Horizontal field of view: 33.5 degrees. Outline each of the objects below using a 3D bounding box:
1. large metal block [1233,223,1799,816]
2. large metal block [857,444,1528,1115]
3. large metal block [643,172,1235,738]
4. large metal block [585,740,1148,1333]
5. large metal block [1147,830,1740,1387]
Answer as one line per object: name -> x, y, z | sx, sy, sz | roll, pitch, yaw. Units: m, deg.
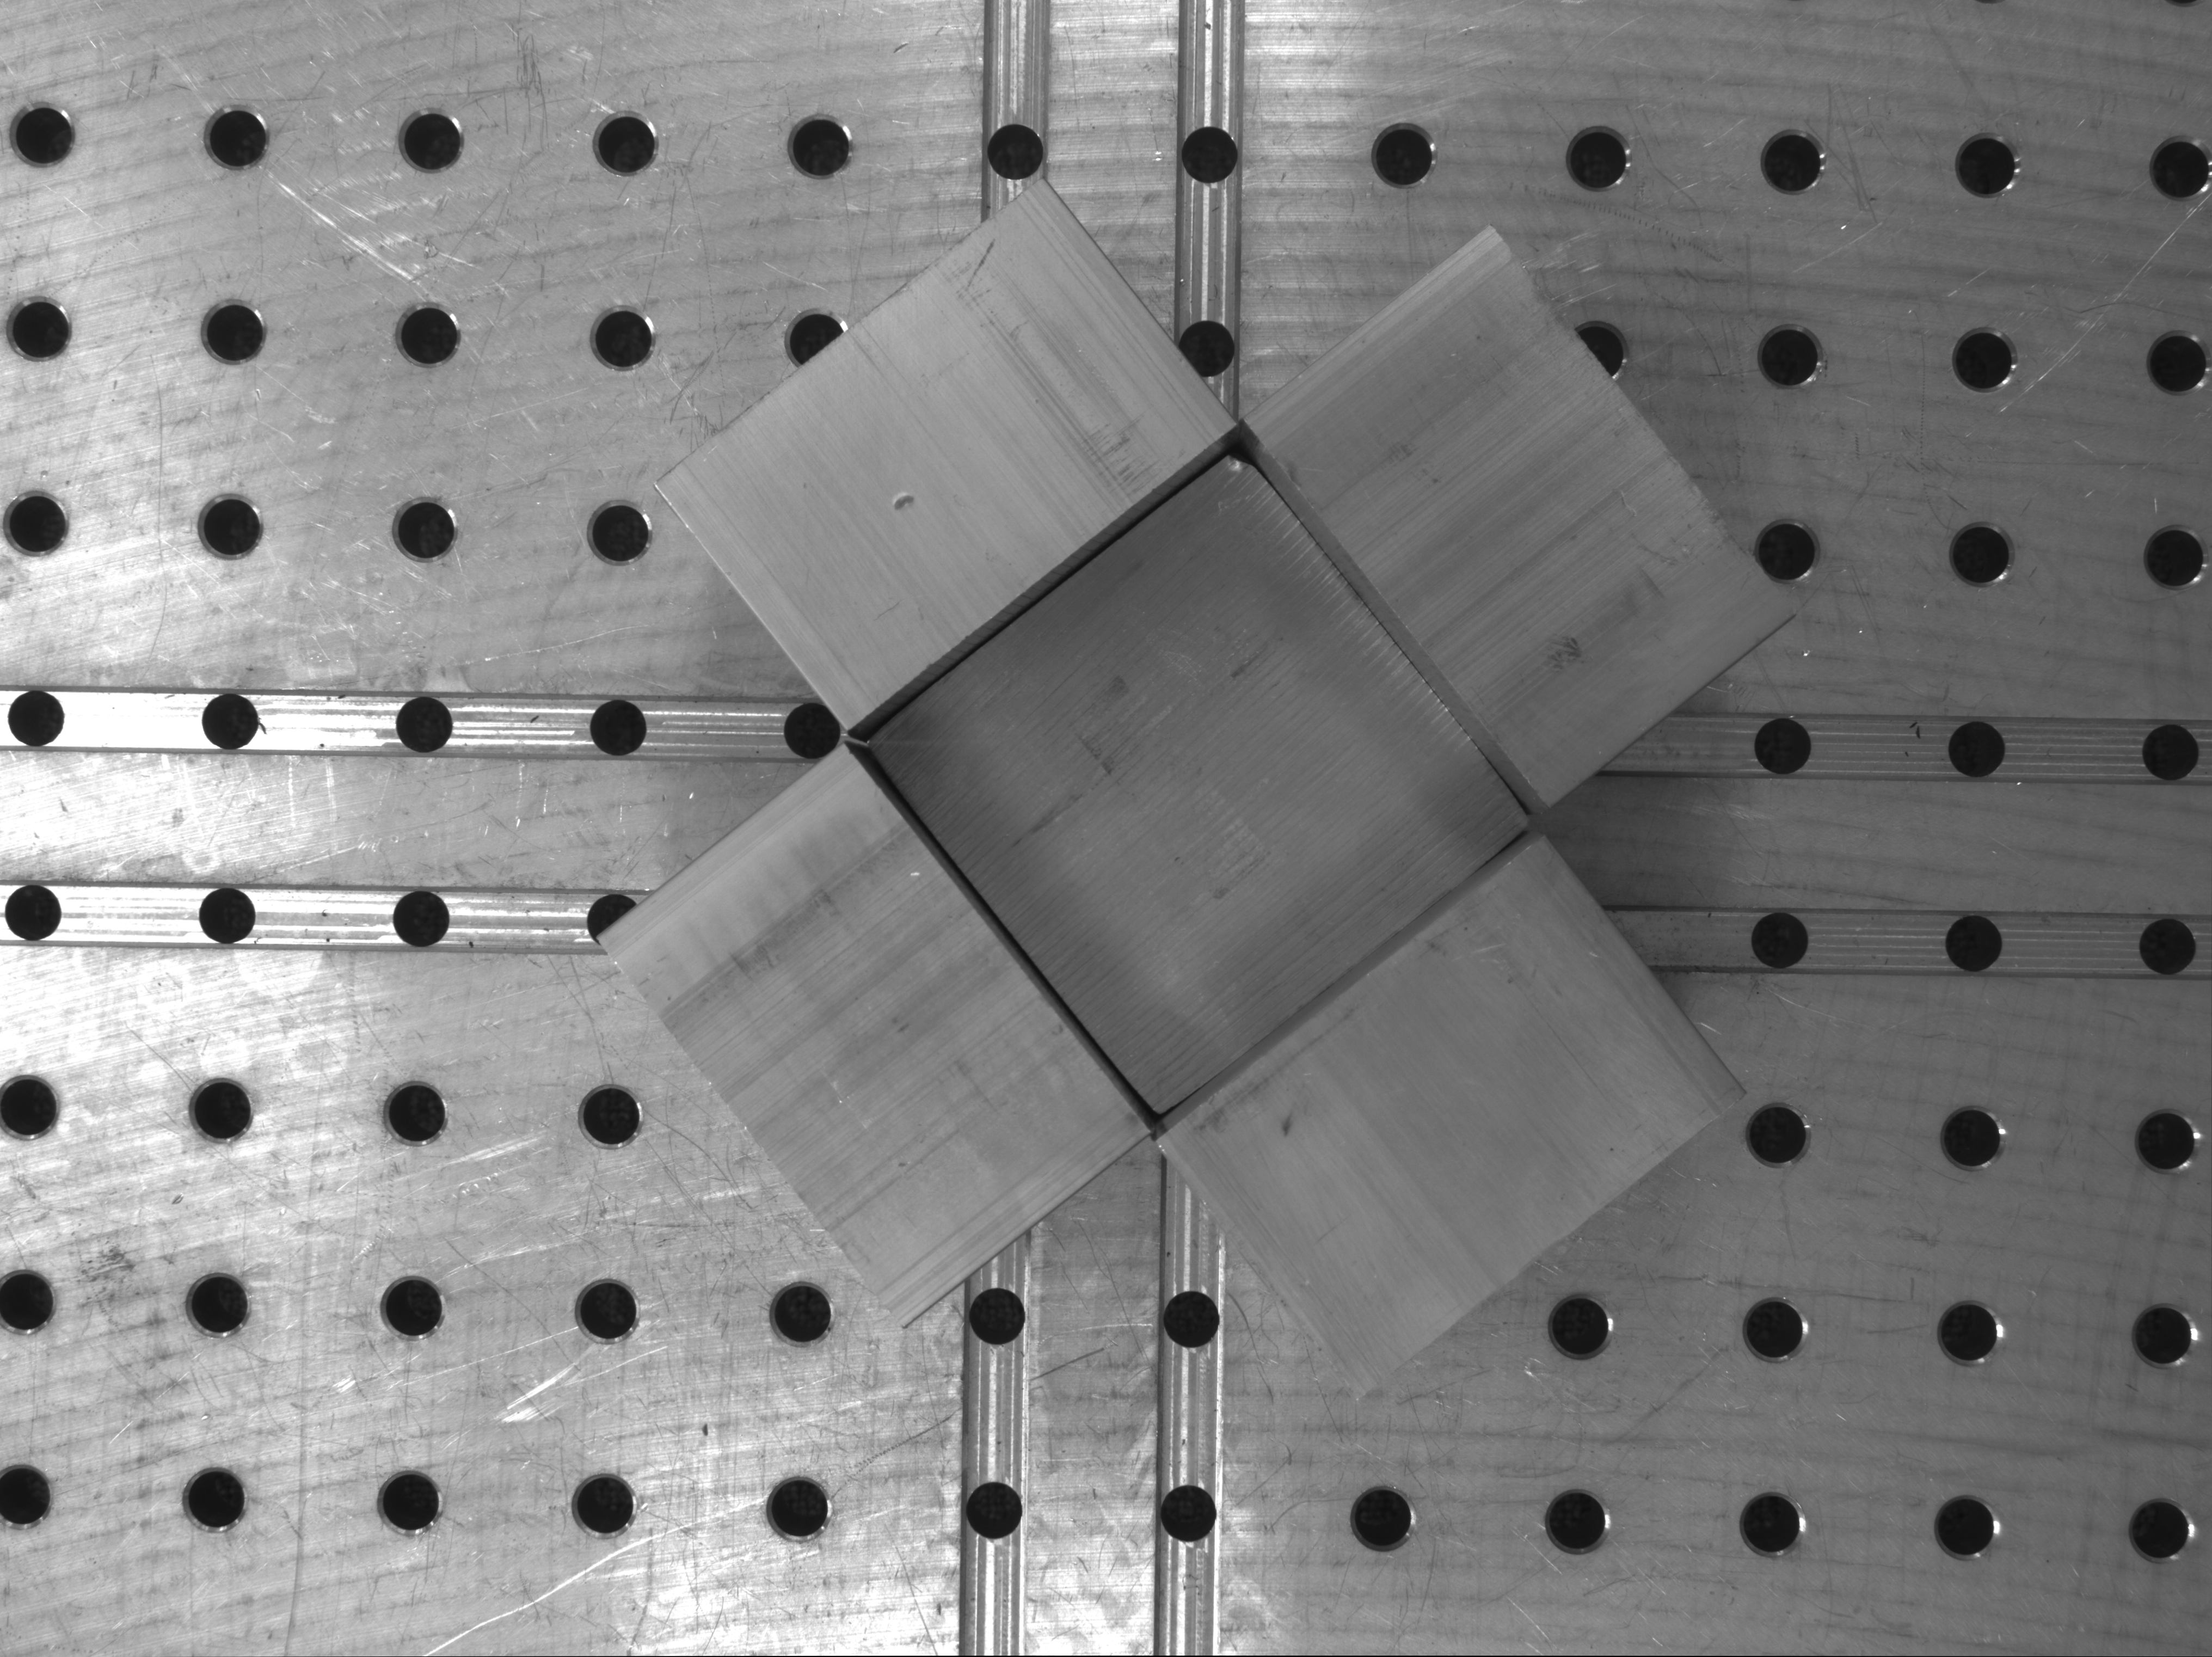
large metal block -> 0.065, -0.049, 0.621 | 0.050, 0.080, 0.080 | -39, 90, 0
large metal block -> 0.015, -0.008, 0.635 | 0.080, 0.050, 0.080 | -38, 88, 2
large metal block -> -0.026, -0.059, 0.621 | 0.080, 0.080, 0.050 | -39, 90, 0
large metal block -> -0.038, 0.033, 0.620 | 0.050, 0.080, 0.080 | -39, 90, 0
large metal block -> 0.054, 0.044, 0.622 | 0.080, 0.080, 0.050 | -37, 90, 0
